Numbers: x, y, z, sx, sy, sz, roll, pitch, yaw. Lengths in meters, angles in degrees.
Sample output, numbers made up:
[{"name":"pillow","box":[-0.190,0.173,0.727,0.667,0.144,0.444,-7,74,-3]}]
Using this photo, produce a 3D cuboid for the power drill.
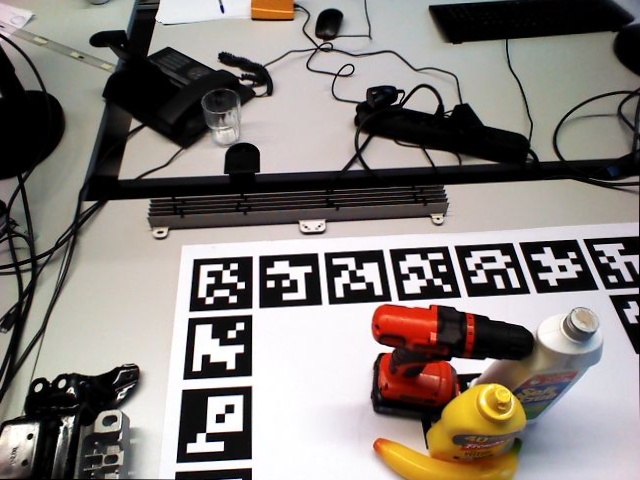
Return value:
[{"name":"power drill","box":[0.160,0.149,0.626,0.185,0.188,0.057,8,54,5]}]

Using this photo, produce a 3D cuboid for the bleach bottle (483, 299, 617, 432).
[{"name":"bleach bottle","box":[0.272,0.153,0.617,0.103,0.252,0.067,0,49,0]}]

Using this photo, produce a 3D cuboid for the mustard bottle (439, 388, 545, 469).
[{"name":"mustard bottle","box":[0.204,0.217,0.602,0.096,0.192,0.058,-2,55,-2]}]

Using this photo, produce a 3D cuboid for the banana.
[{"name":"banana","box":[0.186,0.292,0.655,0.198,0.039,0.074,0,56,4]}]
